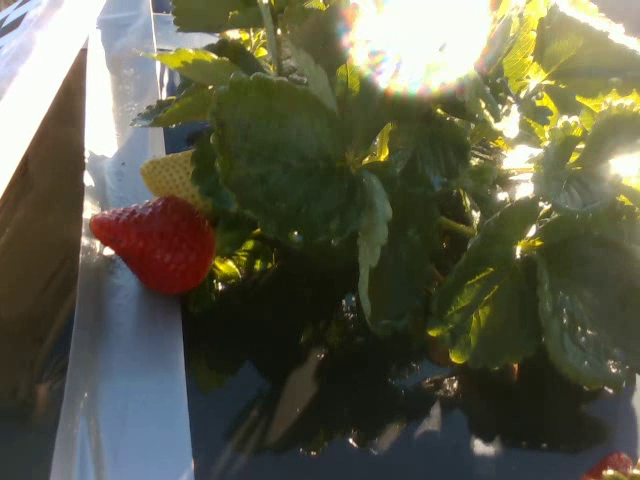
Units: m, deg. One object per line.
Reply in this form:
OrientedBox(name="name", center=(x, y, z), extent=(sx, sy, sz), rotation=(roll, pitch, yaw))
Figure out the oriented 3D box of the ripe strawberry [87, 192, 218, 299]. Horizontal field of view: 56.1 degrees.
OrientedBox(name="ripe strawberry", center=(-0.070, 0.000, 0.246), extent=(0.045, 0.048, 0.064), rotation=(-5, -14, 35))
